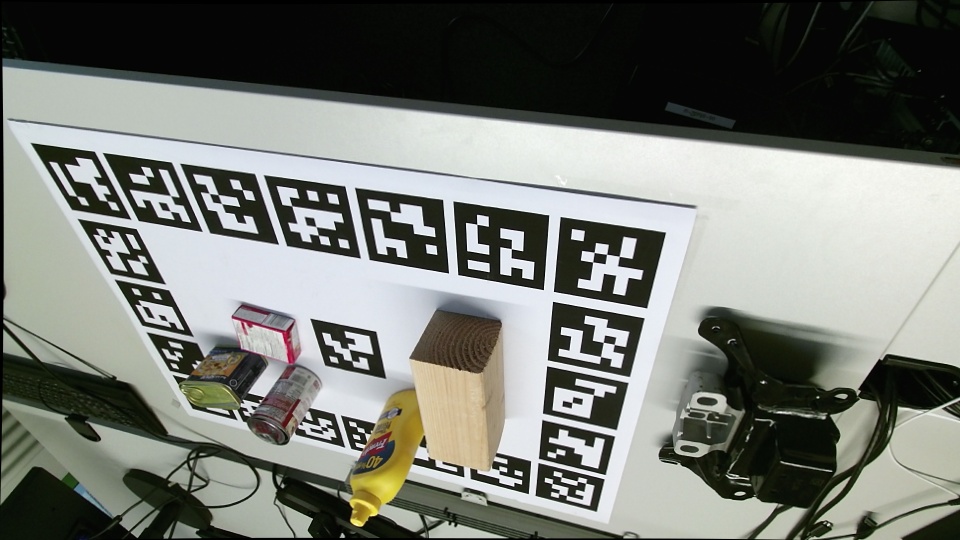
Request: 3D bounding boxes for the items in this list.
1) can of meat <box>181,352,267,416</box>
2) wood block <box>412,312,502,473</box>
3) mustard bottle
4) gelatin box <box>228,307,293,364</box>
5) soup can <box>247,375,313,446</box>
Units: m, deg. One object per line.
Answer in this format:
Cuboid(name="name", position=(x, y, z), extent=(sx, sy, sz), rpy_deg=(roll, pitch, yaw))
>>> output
Cuboid(name="can of meat", position=(-0.399, 0.176, 0.839), extent=(0.102, 0.083, 0.058), rpy_deg=(-2, 125, 24))
Cuboid(name="wood block", position=(-0.026, 0.163, 0.690), extent=(0.091, 0.089, 0.206), rpy_deg=(10, 134, 14))
Cuboid(name="mustard bottle", position=(-0.130, 0.259, 0.743), extent=(0.096, 0.191, 0.058), rpy_deg=(-13, 122, 30))
Cuboid(name="gelatin box", position=(-0.321, 0.099, 0.779), extent=(0.089, 0.030, 0.073), rpy_deg=(15, 129, 5))
Cuboid(name="soup can", position=(-0.309, 0.218, 0.816), extent=(0.068, 0.102, 0.068), rpy_deg=(9, 128, 12))
